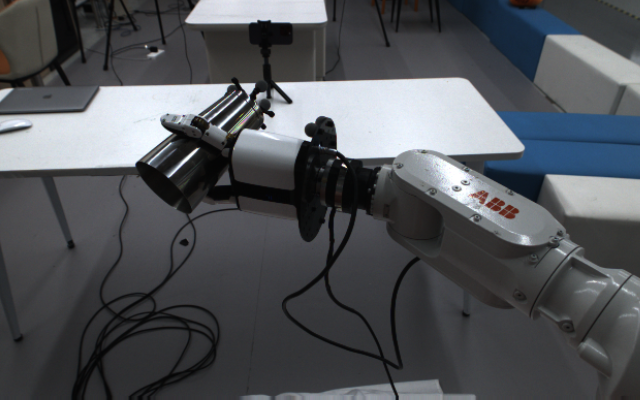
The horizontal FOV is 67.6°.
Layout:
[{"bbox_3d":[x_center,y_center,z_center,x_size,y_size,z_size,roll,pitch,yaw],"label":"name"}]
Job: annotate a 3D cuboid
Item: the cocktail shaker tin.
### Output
[{"bbox_3d":[-0.154,-0.078,0.656,0.093,0.093,0.170,23,57,27],"label":"cocktail shaker tin"}]
